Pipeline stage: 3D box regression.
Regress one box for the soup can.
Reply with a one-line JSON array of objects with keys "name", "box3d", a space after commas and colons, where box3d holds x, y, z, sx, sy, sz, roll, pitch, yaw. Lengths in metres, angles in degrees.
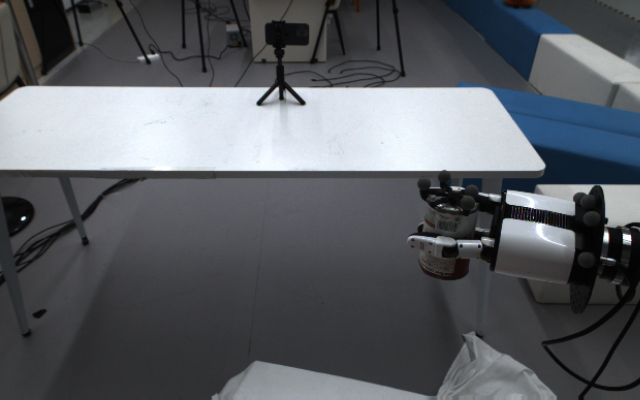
[{"name": "soup can", "box3d": [0.172, 0.044, 0.643, 0.067, 0.101, 0.067, 1, 26, 0]}]
